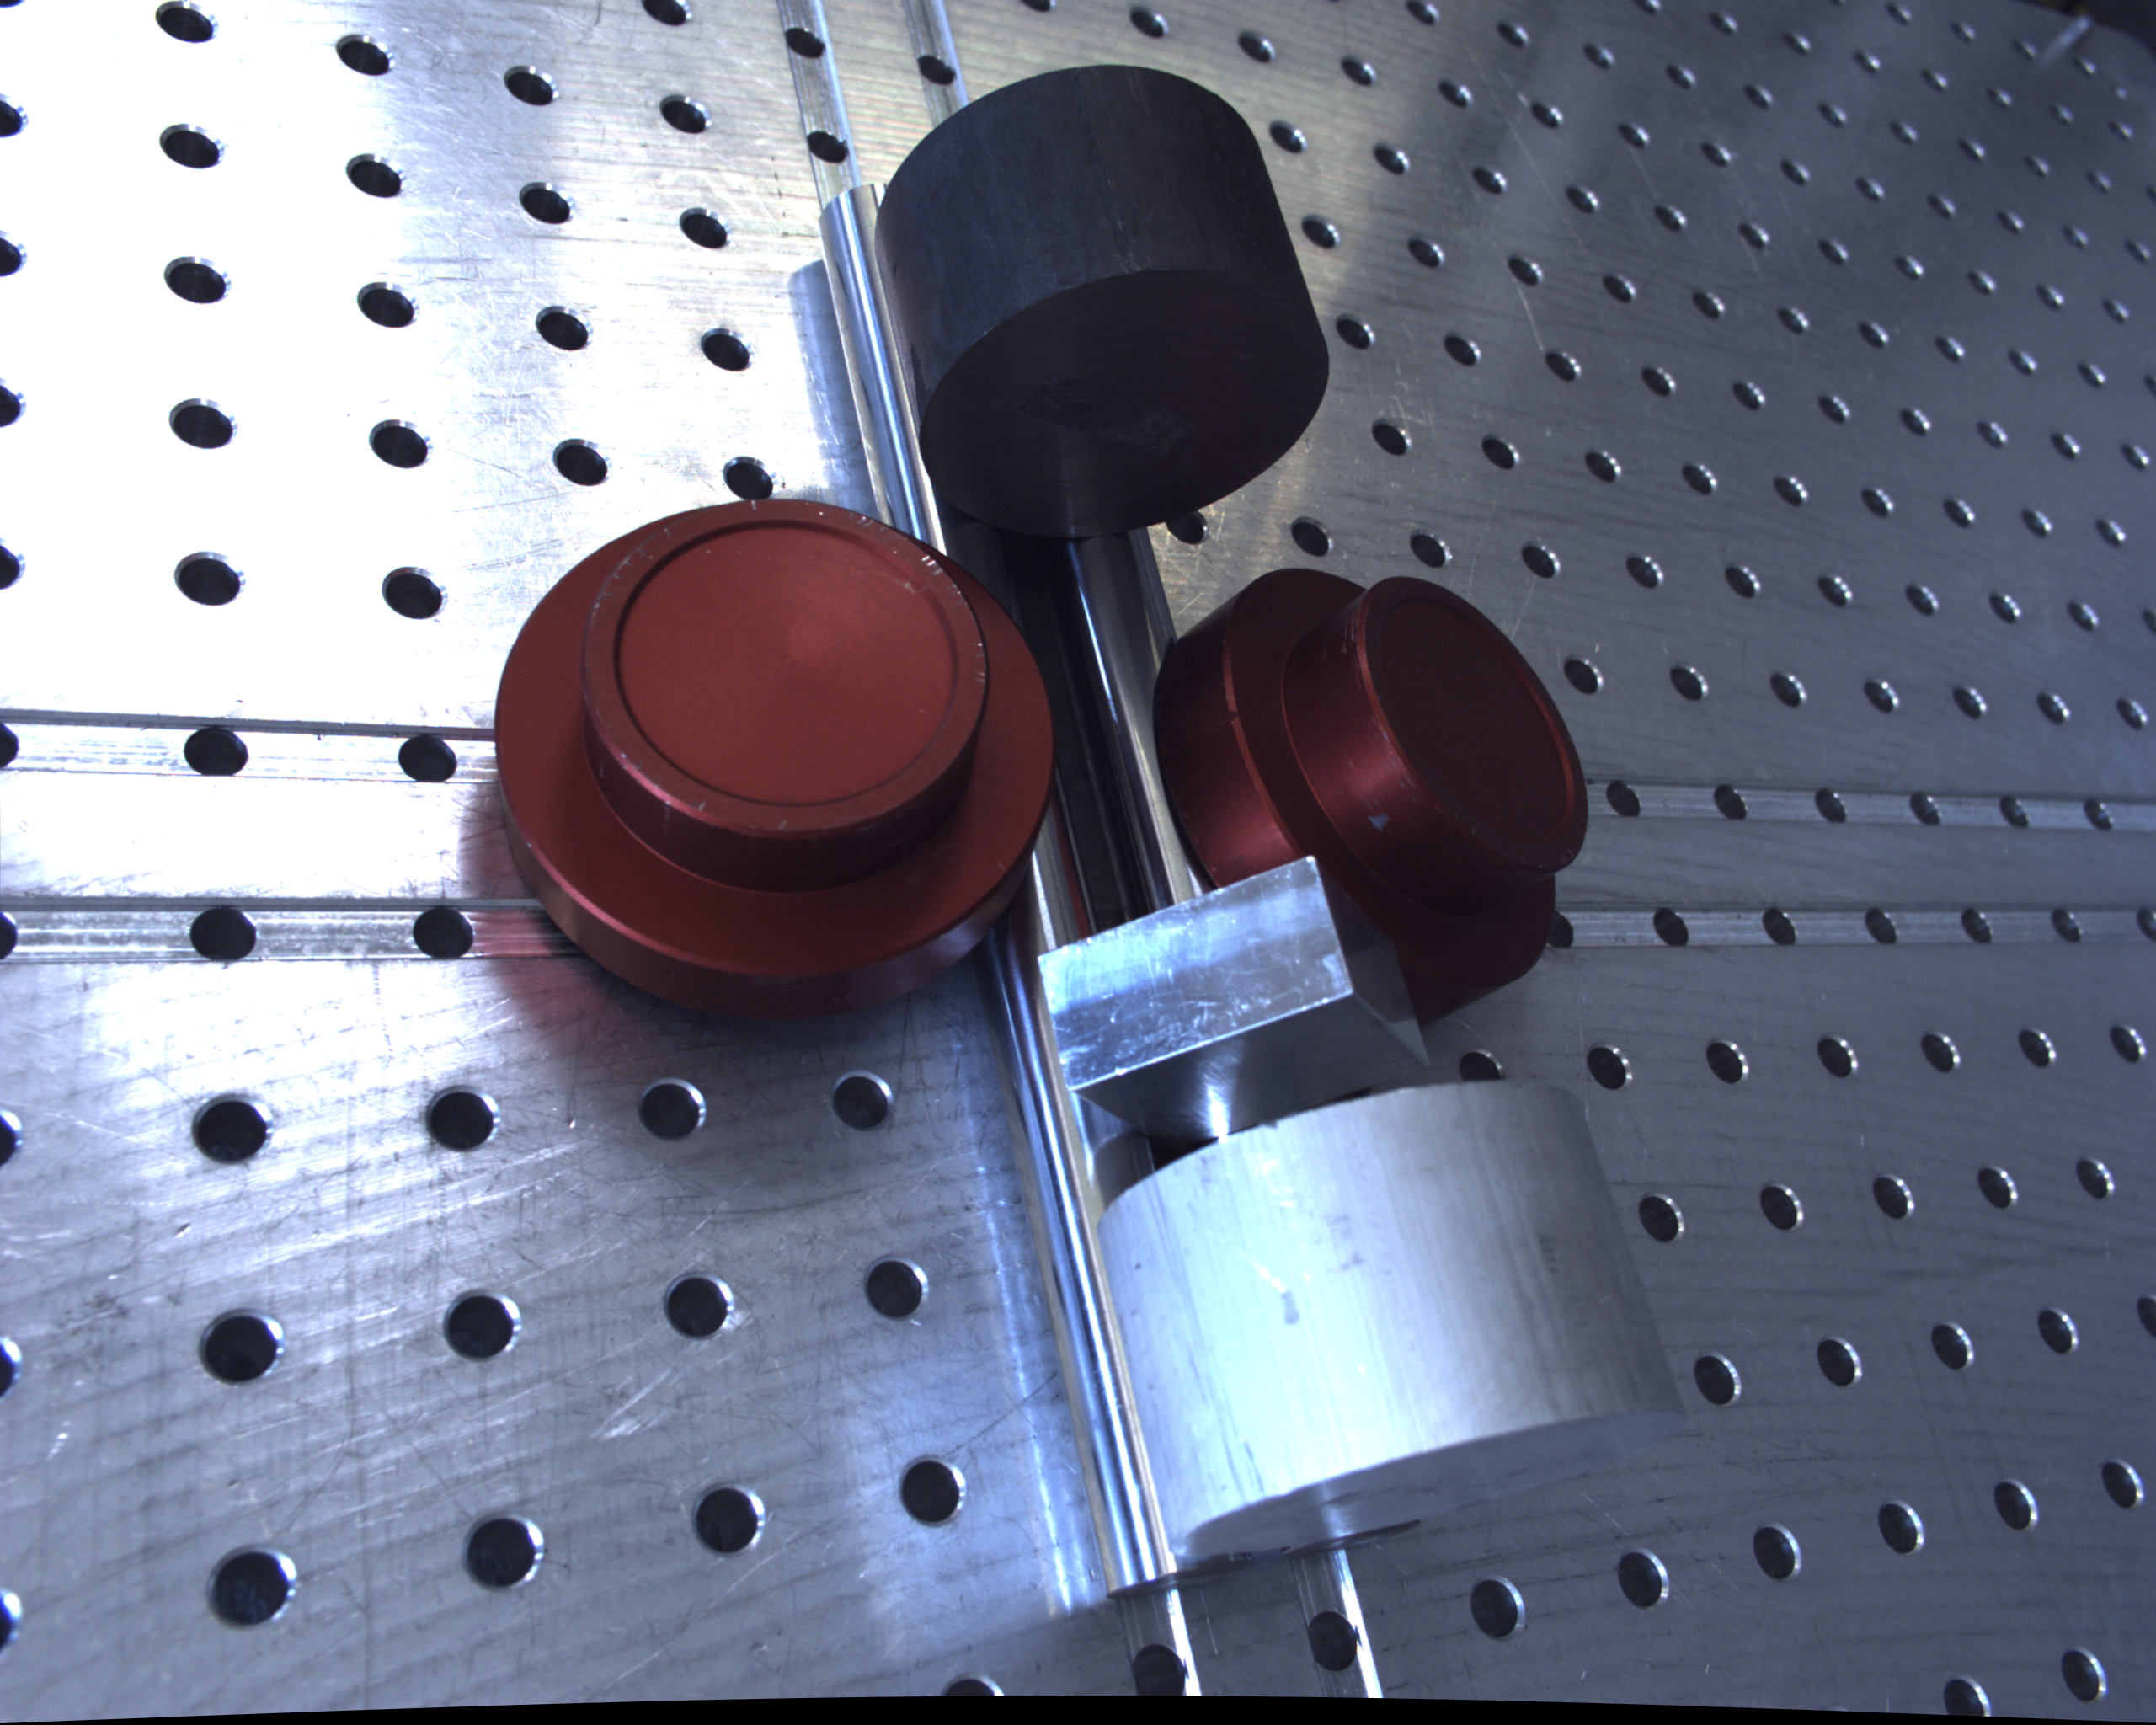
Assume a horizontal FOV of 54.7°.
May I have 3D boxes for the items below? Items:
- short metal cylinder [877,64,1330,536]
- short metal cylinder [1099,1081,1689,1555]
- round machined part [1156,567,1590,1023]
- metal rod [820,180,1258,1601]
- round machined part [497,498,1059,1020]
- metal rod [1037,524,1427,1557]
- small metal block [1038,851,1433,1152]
[{"bbox_3d":[0.004,-0.109,0.413,0.081,0.080,0.050,1,62,-28],"label":"short metal cylinder"},{"bbox_3d":[0.048,0.073,0.326,0.081,0.080,0.050,1,62,-28],"label":"short metal cylinder"},{"bbox_3d":[0.066,-0.020,0.428,0.099,0.042,0.098,26,47,-31],"label":"round machined part"},{"bbox_3d":[-0.014,-0.013,0.407,0.025,0.025,0.299,1,61,-28],"label":"metal rod"},{"bbox_3d":[-0.052,-0.025,0.369,0.099,0.042,0.098,5,61,-10],"label":"round machined part"},{"bbox_3d":[0.017,-0.015,0.425,0.025,0.025,0.299,1,61,-28],"label":"metal rod"},{"bbox_3d":[0.028,0.026,0.361,0.050,0.050,0.025,41,32,-60],"label":"small metal block"}]
